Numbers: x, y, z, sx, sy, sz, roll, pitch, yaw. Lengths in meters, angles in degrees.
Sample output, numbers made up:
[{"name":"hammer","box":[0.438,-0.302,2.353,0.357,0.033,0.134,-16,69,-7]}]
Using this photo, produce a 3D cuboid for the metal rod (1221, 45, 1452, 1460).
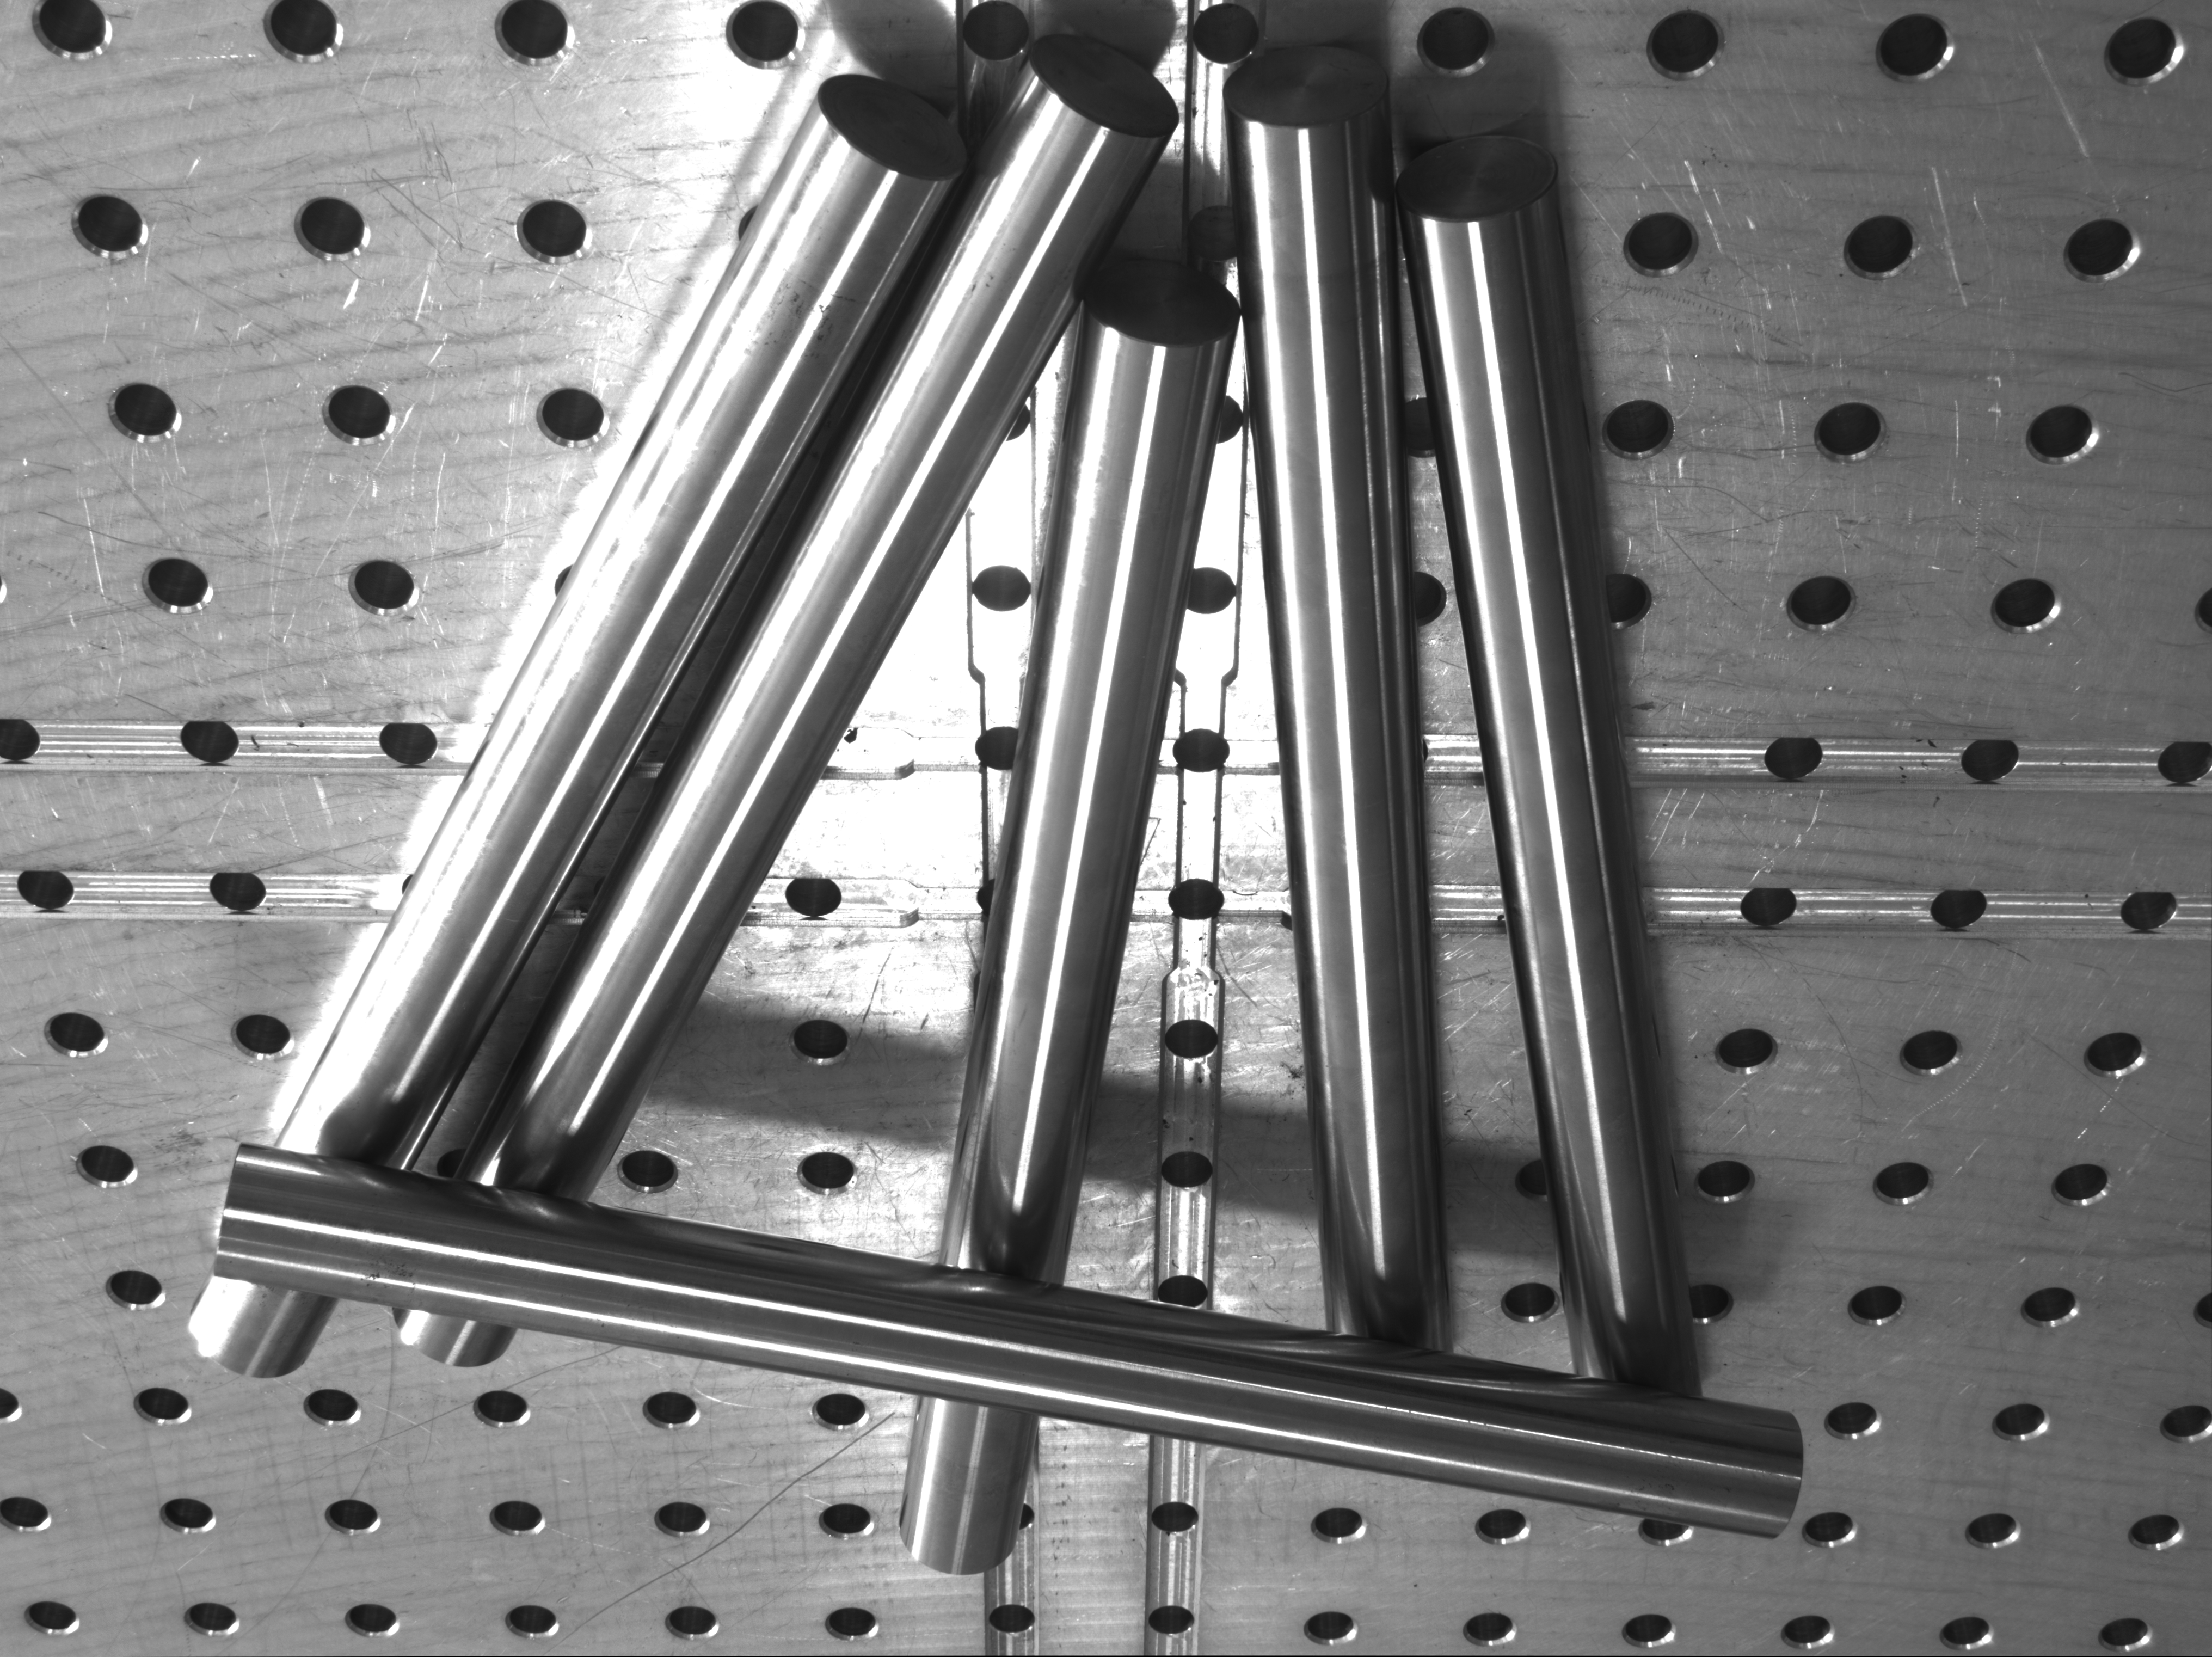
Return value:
[{"name":"metal rod","box":[0.044,0.003,0.646,0.025,0.025,0.300,-4,130,3]}]

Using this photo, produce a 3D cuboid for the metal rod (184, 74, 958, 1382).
[{"name":"metal rod","box":[-0.102,-0.003,0.639,0.025,0.025,0.300,21,127,-17]}]

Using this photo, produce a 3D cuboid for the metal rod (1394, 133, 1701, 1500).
[{"name":"metal rod","box":[0.083,0.014,0.654,0.025,0.025,0.300,-8,130,7]}]

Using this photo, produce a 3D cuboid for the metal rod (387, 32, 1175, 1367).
[{"name":"metal rod","box":[-0.065,-0.008,0.637,0.025,0.025,0.300,20,127,-16]}]

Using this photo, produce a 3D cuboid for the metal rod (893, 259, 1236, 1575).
[{"name":"metal rod","box":[-0.012,0.032,0.669,0.025,0.025,0.300,6,130,-5]}]
